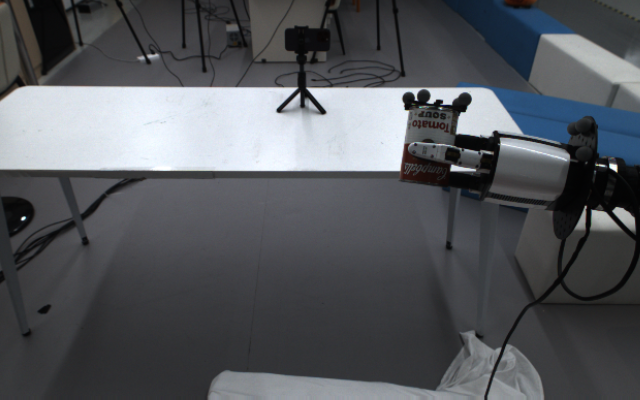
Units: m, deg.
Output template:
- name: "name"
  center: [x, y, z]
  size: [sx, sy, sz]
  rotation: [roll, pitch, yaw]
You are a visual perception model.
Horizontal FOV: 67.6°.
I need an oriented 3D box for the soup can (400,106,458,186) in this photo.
- name: "soup can"
  center: [0.148, -0.073, 0.658]
  size: [0.067, 0.101, 0.067]
  rotation: [7, 4, 0]
